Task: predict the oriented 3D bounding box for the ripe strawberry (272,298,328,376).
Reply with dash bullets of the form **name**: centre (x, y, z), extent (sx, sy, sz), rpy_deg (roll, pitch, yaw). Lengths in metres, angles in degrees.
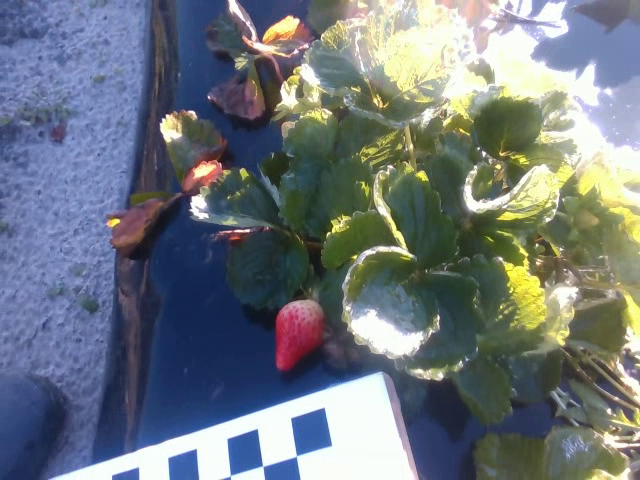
- **ripe strawberry**: centre (-0.024, 0.072, 0.471), extent (0.040, 0.065, 0.040), rpy_deg (20, -13, 30)
